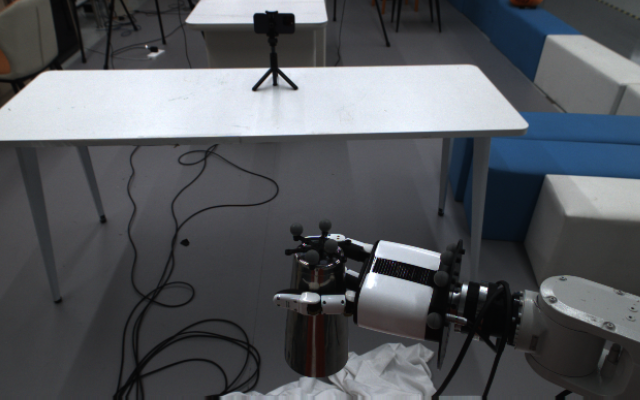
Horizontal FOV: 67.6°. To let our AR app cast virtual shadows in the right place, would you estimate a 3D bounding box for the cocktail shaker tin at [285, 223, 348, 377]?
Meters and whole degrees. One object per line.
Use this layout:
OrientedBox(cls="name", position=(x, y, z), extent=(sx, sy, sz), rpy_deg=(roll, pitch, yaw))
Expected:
OrientedBox(cls="cocktail shaker tin", position=(-0.001, 0.141, 0.657), extent=(0.093, 0.170, 0.093), rpy_deg=(1, 26, -1))
